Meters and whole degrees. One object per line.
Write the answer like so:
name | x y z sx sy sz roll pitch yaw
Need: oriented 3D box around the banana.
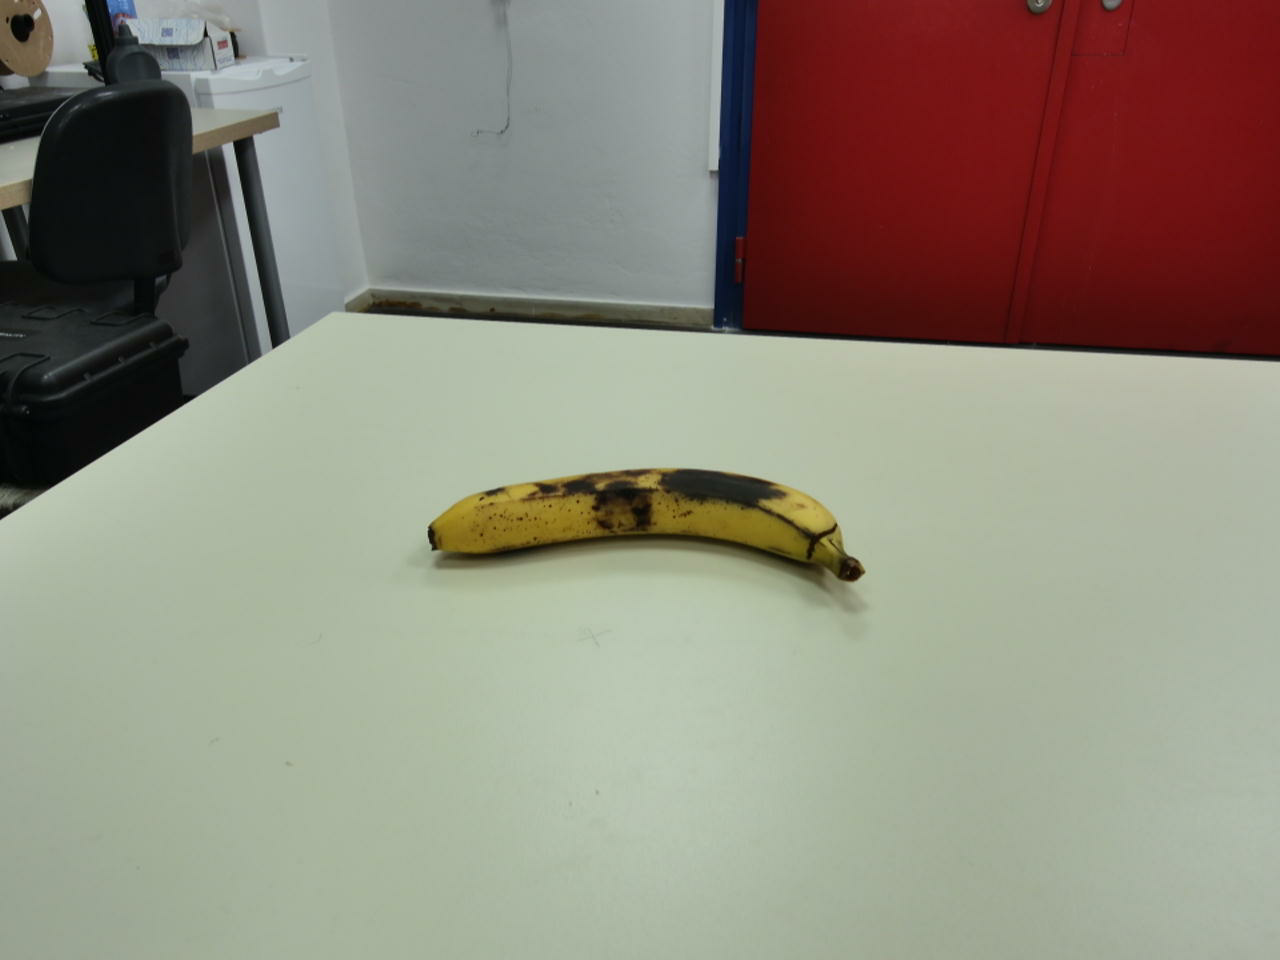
banana | 0.005 0.020 0.529 0.222 0.037 0.084 5 26 11
